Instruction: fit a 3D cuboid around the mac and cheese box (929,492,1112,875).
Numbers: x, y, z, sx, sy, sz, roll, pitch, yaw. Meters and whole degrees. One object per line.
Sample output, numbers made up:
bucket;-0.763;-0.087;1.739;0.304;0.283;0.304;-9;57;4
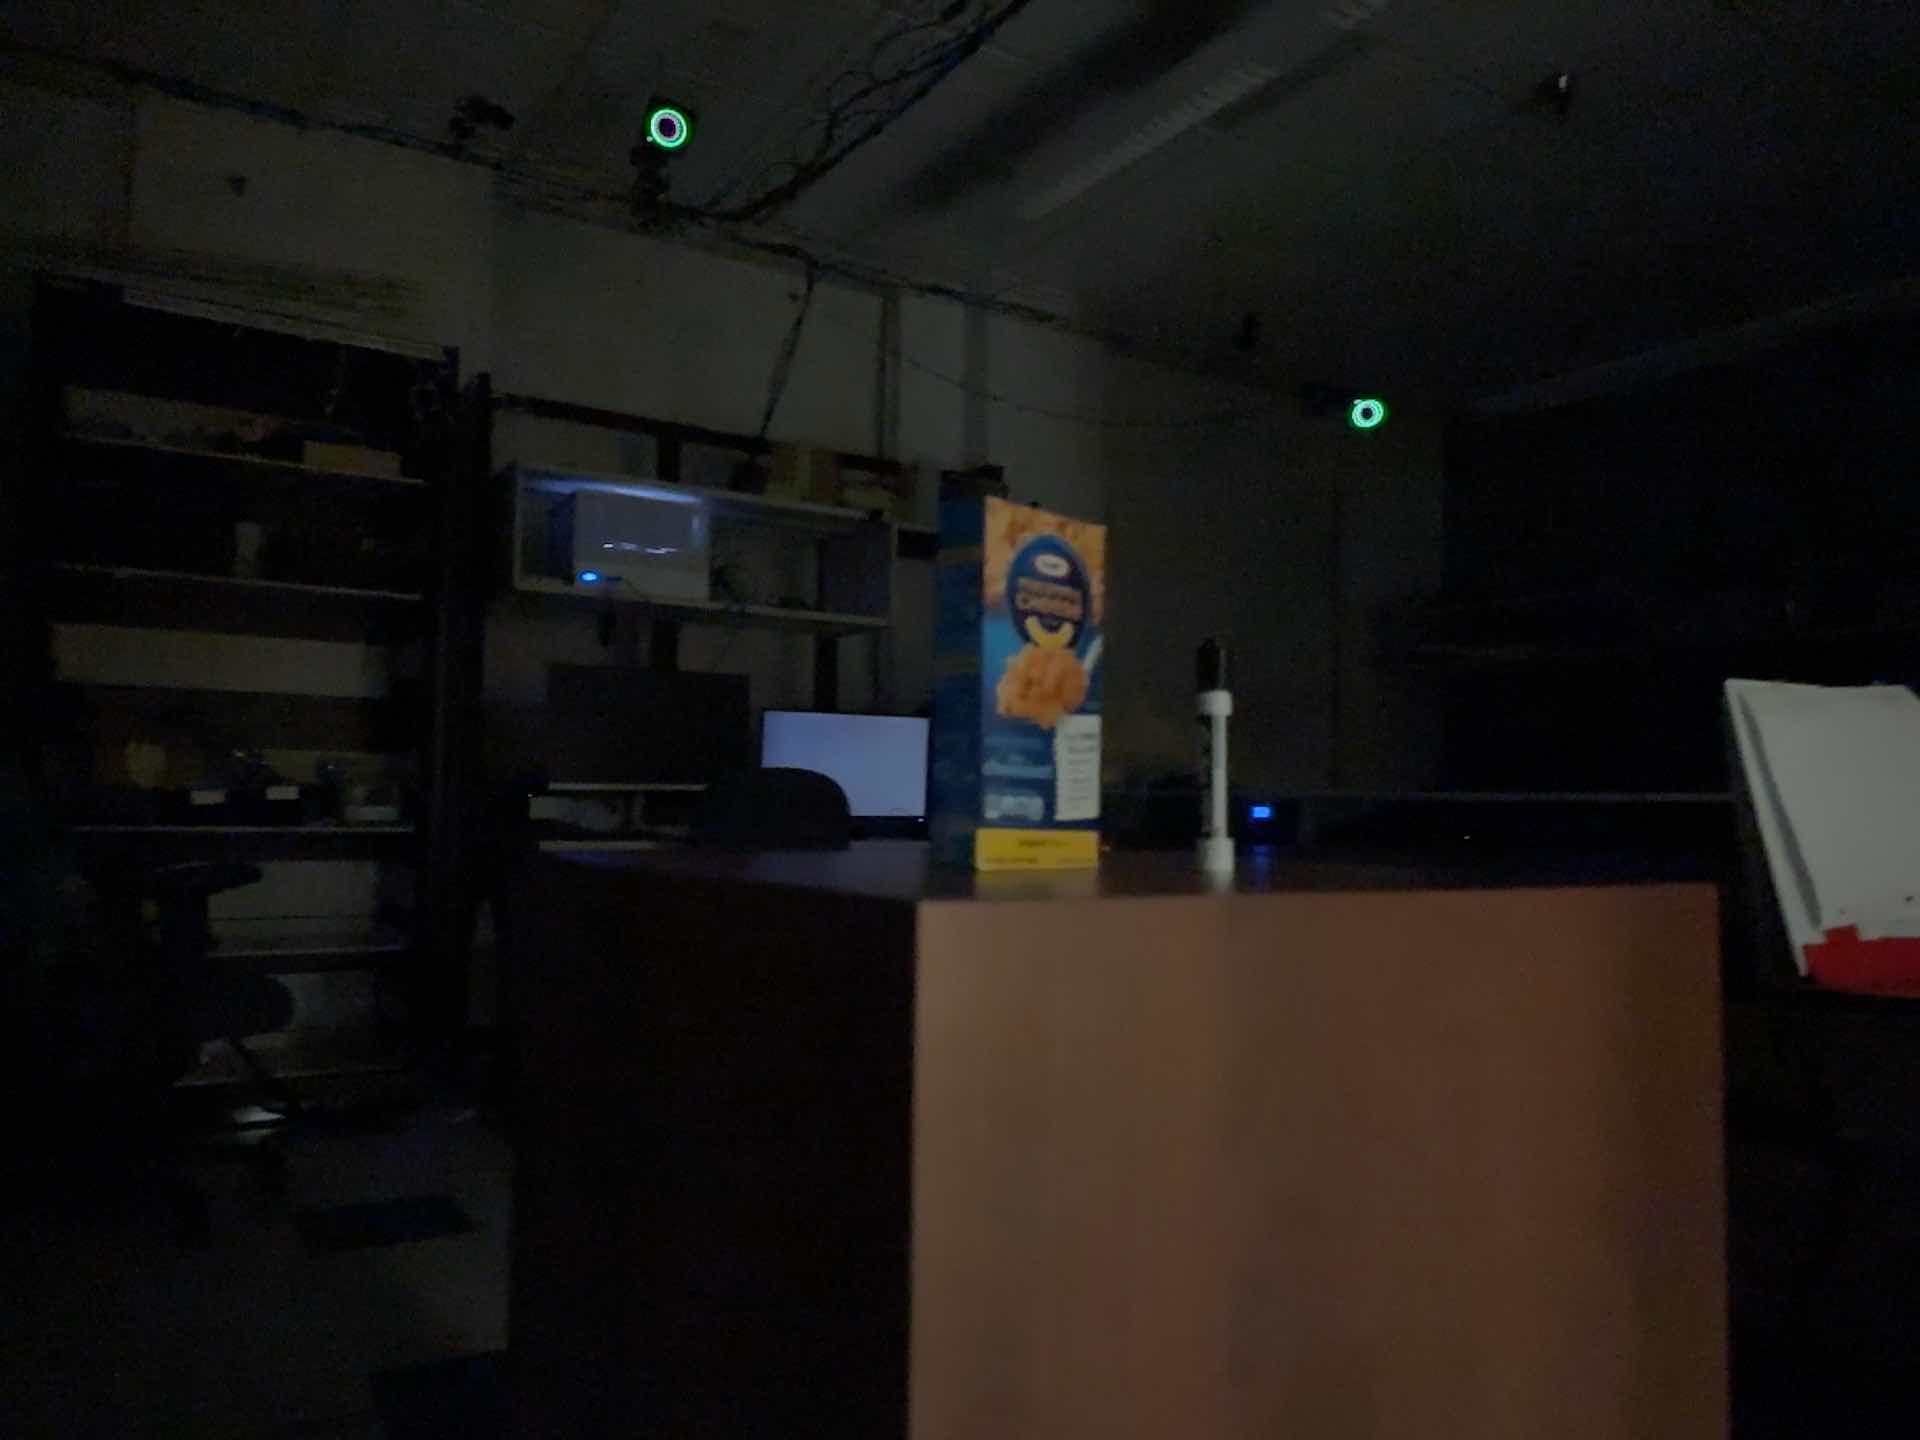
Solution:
mac and cheese box;0.032;-0.016;0.681;0.088;0.181;0.035;3;-3;-38

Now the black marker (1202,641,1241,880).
black marker;0.133;0.020;0.685;0.020;0.121;0.020;0;-3;0
